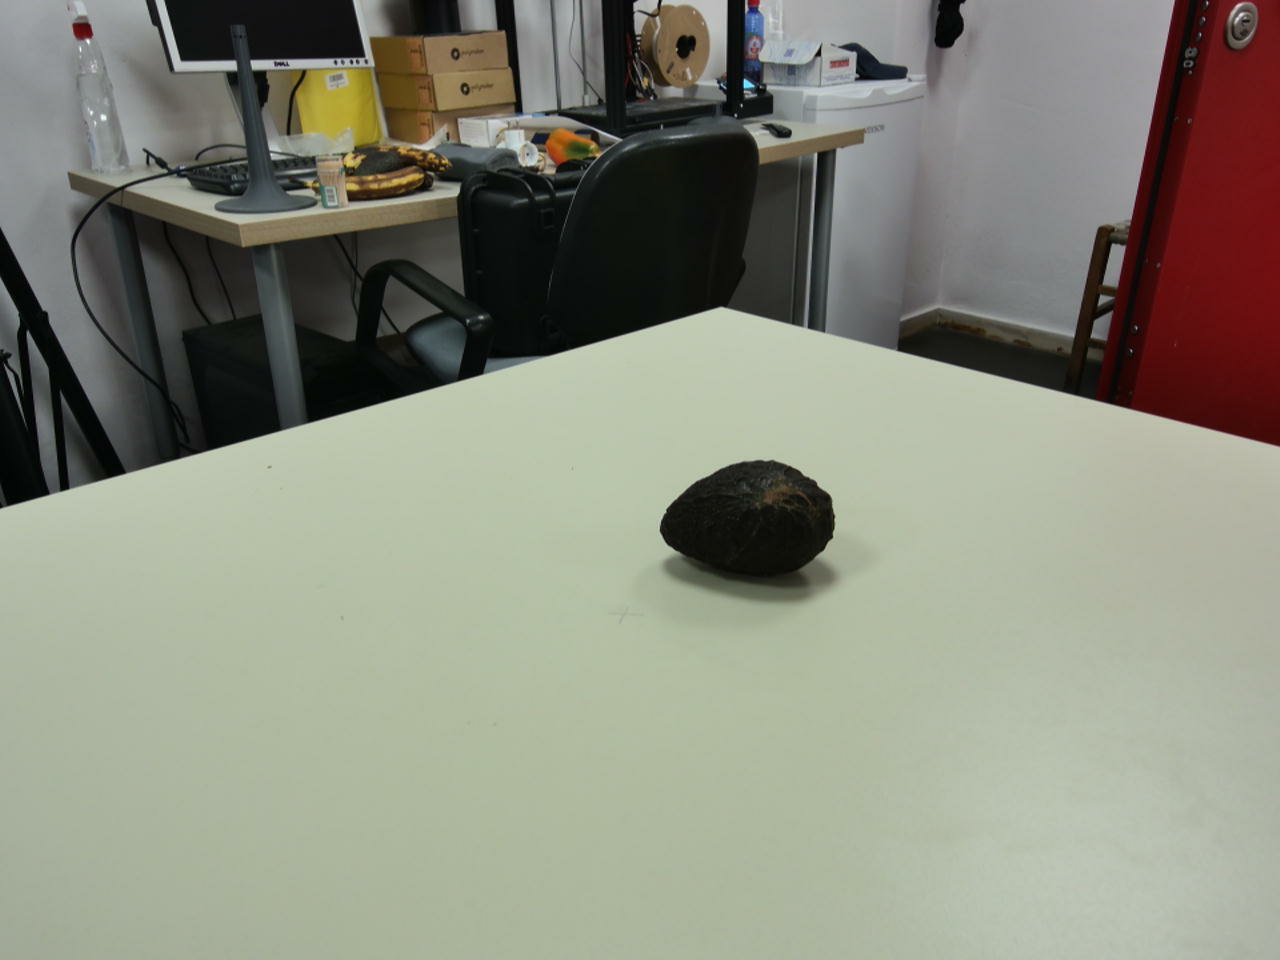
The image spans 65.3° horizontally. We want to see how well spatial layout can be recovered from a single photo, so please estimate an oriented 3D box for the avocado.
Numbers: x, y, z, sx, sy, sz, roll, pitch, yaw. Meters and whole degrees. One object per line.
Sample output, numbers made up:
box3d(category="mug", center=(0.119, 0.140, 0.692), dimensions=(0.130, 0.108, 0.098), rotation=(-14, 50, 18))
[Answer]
box3d(category="avocado", center=(0.058, 0.020, 0.539), dimensions=(0.092, 0.062, 0.062), rotation=(11, 26, 23))
